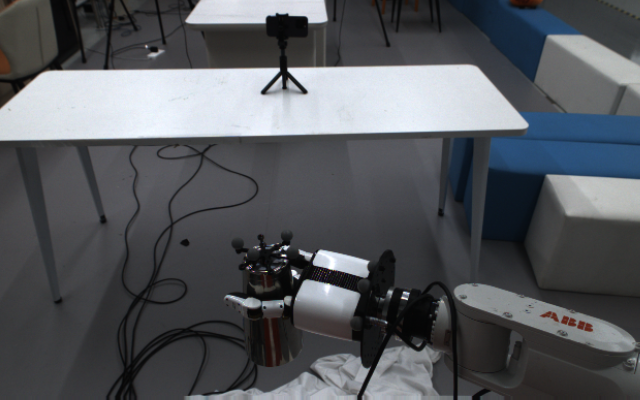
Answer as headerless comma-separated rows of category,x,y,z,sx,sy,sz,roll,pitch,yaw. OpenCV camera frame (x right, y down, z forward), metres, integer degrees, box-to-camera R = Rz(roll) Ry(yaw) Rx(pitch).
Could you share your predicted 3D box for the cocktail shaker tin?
cocktail shaker tin,-0.070,0.151,0.716,0.093,0.170,0.093,-1,32,1
